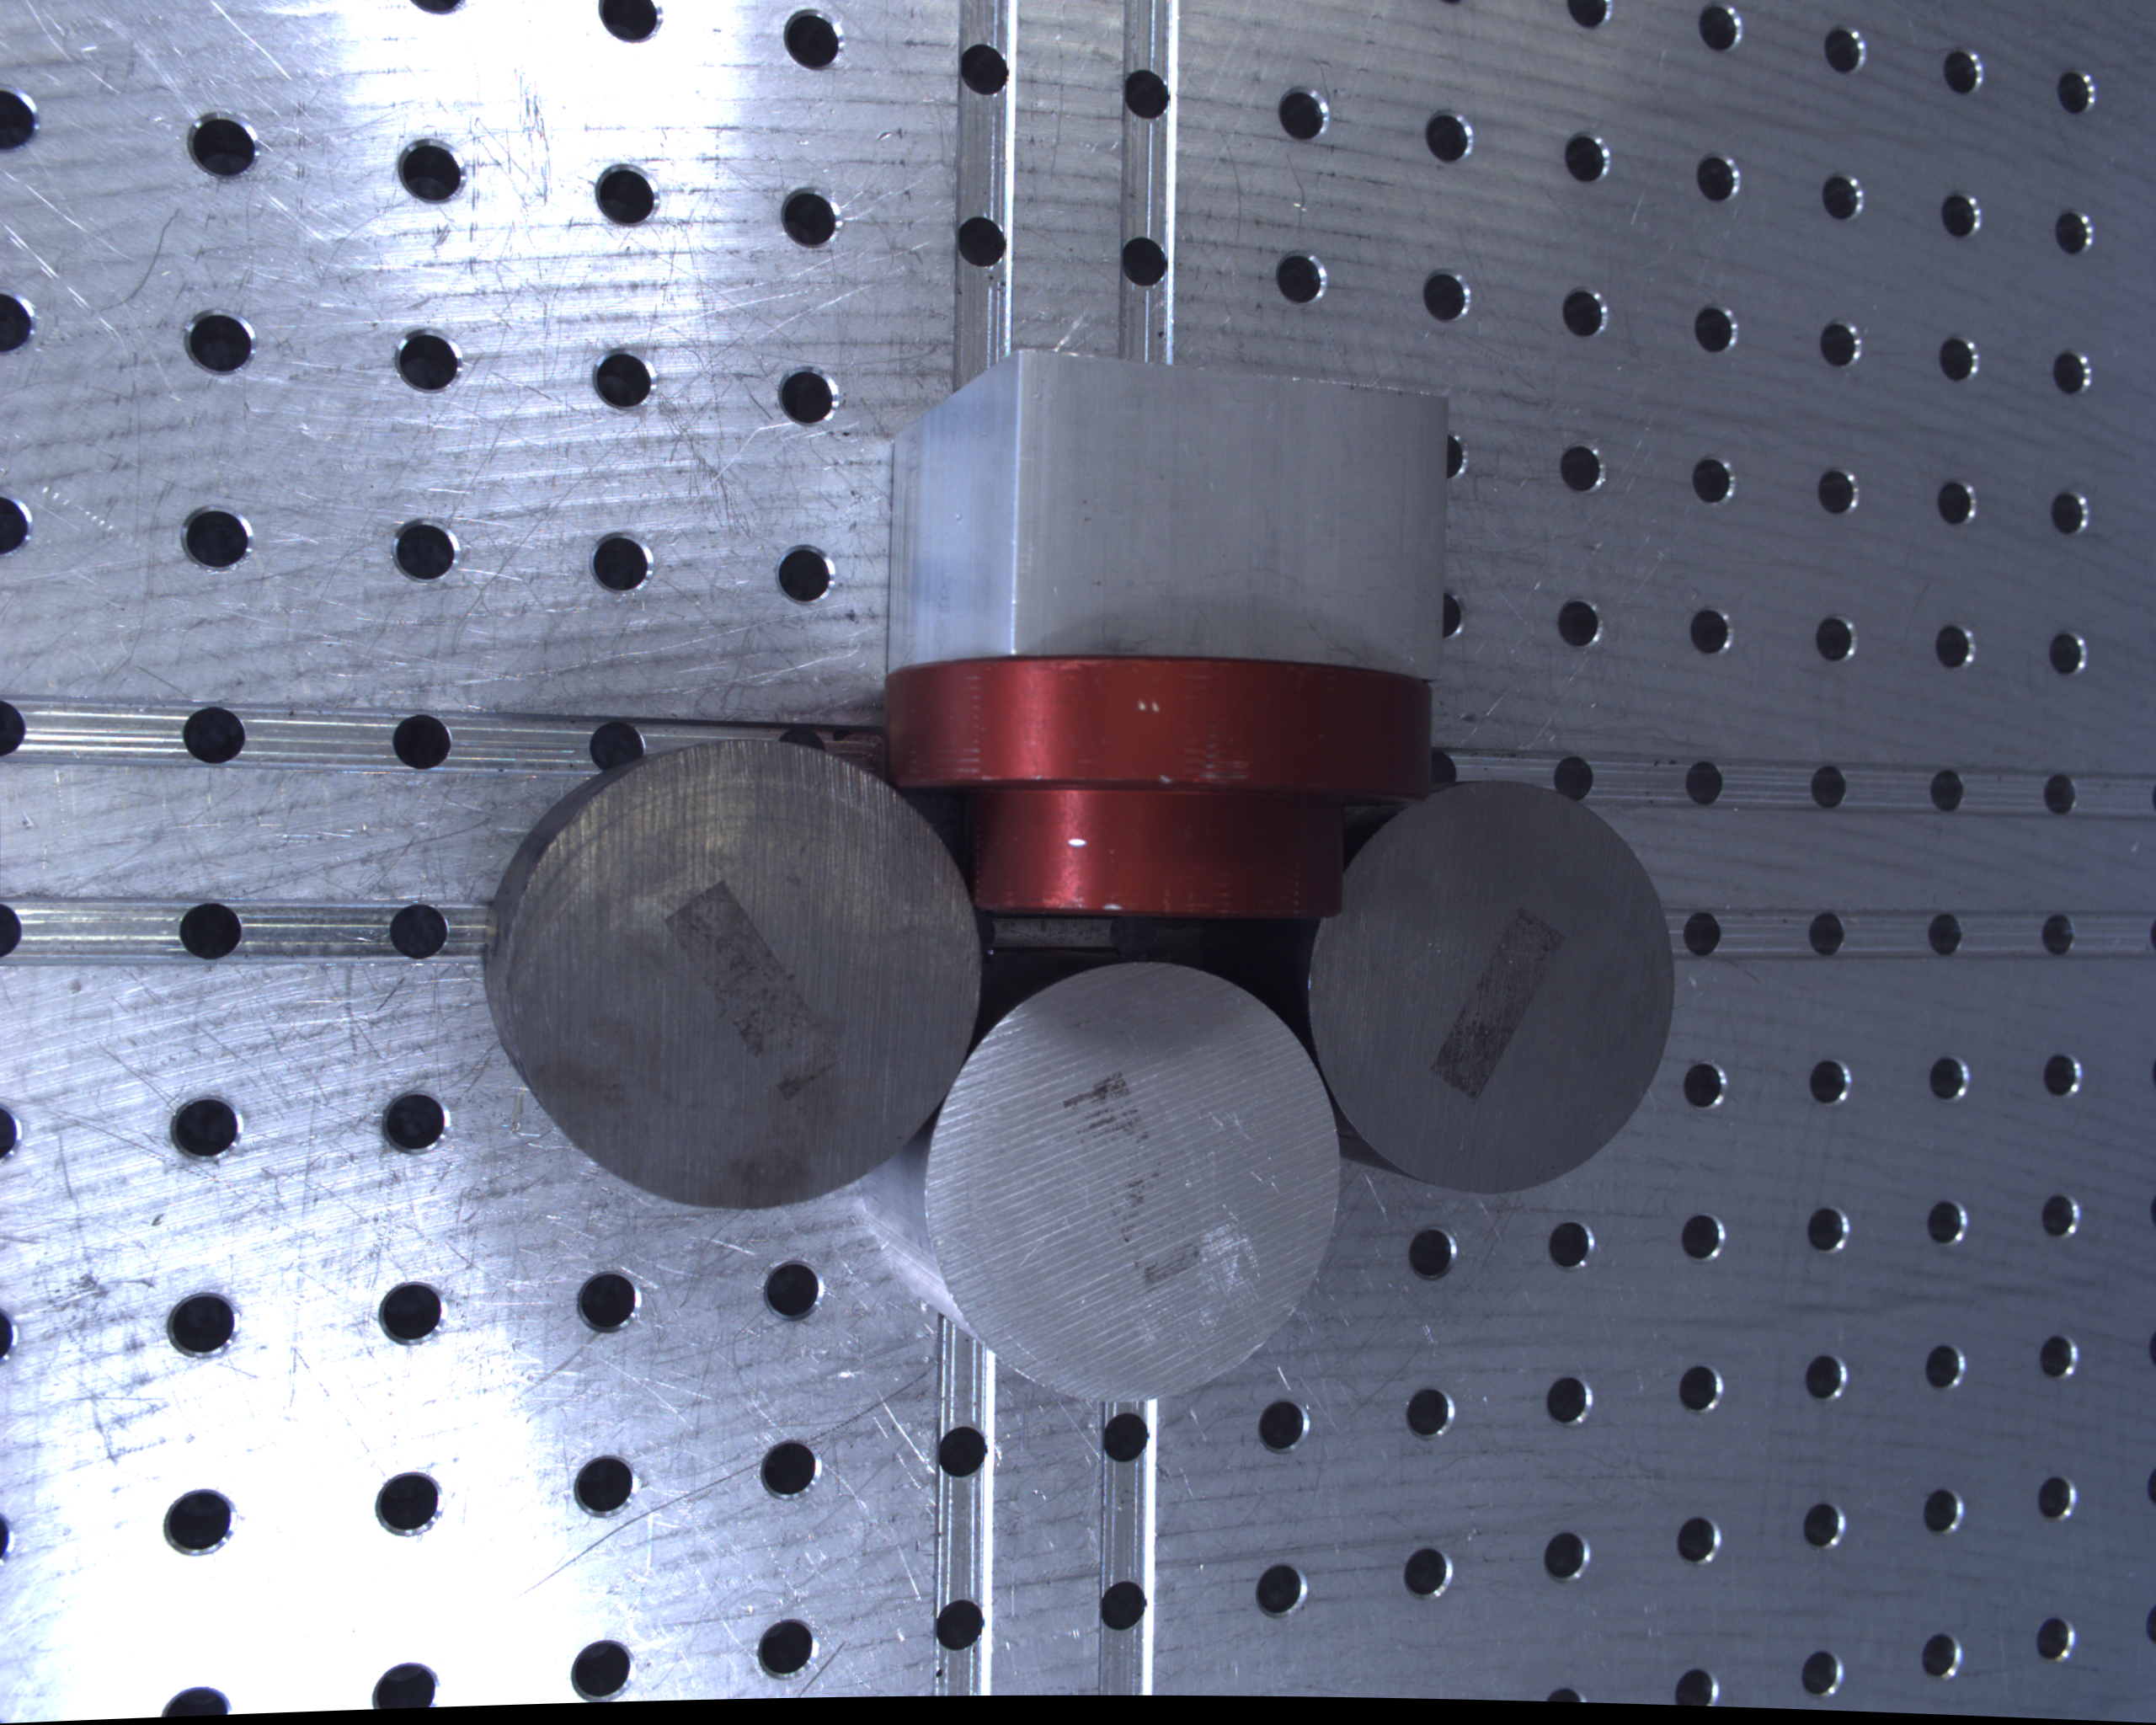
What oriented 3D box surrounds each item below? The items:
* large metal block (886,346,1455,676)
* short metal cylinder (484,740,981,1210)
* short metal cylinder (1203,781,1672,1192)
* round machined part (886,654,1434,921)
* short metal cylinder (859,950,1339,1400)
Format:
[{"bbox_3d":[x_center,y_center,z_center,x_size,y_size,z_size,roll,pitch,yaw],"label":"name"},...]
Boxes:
[{"bbox_3d":[0.014,-0.058,0.388,0.081,0.080,0.050,1,90,-20],"label":"large metal block"},{"bbox_3d":[-0.063,0.019,0.376,0.081,0.050,0.079,0,90,-20],"label":"short metal cylinder"},{"bbox_3d":[0.072,0.024,0.426,0.081,0.050,0.079,0,90,-20],"label":"short metal cylinder"},{"bbox_3d":[0.014,-0.011,0.377,0.099,0.098,0.042,2,89,-20],"label":"round machined part"},{"bbox_3d":[0.003,0.057,0.401,0.081,0.050,0.079,0,90,-20],"label":"short metal cylinder"}]
